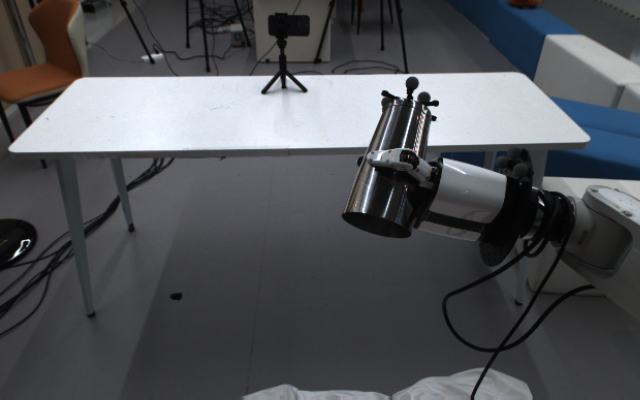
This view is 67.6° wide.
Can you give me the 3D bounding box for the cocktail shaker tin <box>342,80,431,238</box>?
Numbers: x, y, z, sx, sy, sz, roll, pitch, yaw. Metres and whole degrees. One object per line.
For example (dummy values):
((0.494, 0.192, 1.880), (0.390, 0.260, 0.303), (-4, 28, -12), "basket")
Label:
((0.097, -0.045, 0.643), (0.093, 0.093, 0.170), (13, 74, 16), "cocktail shaker tin")
